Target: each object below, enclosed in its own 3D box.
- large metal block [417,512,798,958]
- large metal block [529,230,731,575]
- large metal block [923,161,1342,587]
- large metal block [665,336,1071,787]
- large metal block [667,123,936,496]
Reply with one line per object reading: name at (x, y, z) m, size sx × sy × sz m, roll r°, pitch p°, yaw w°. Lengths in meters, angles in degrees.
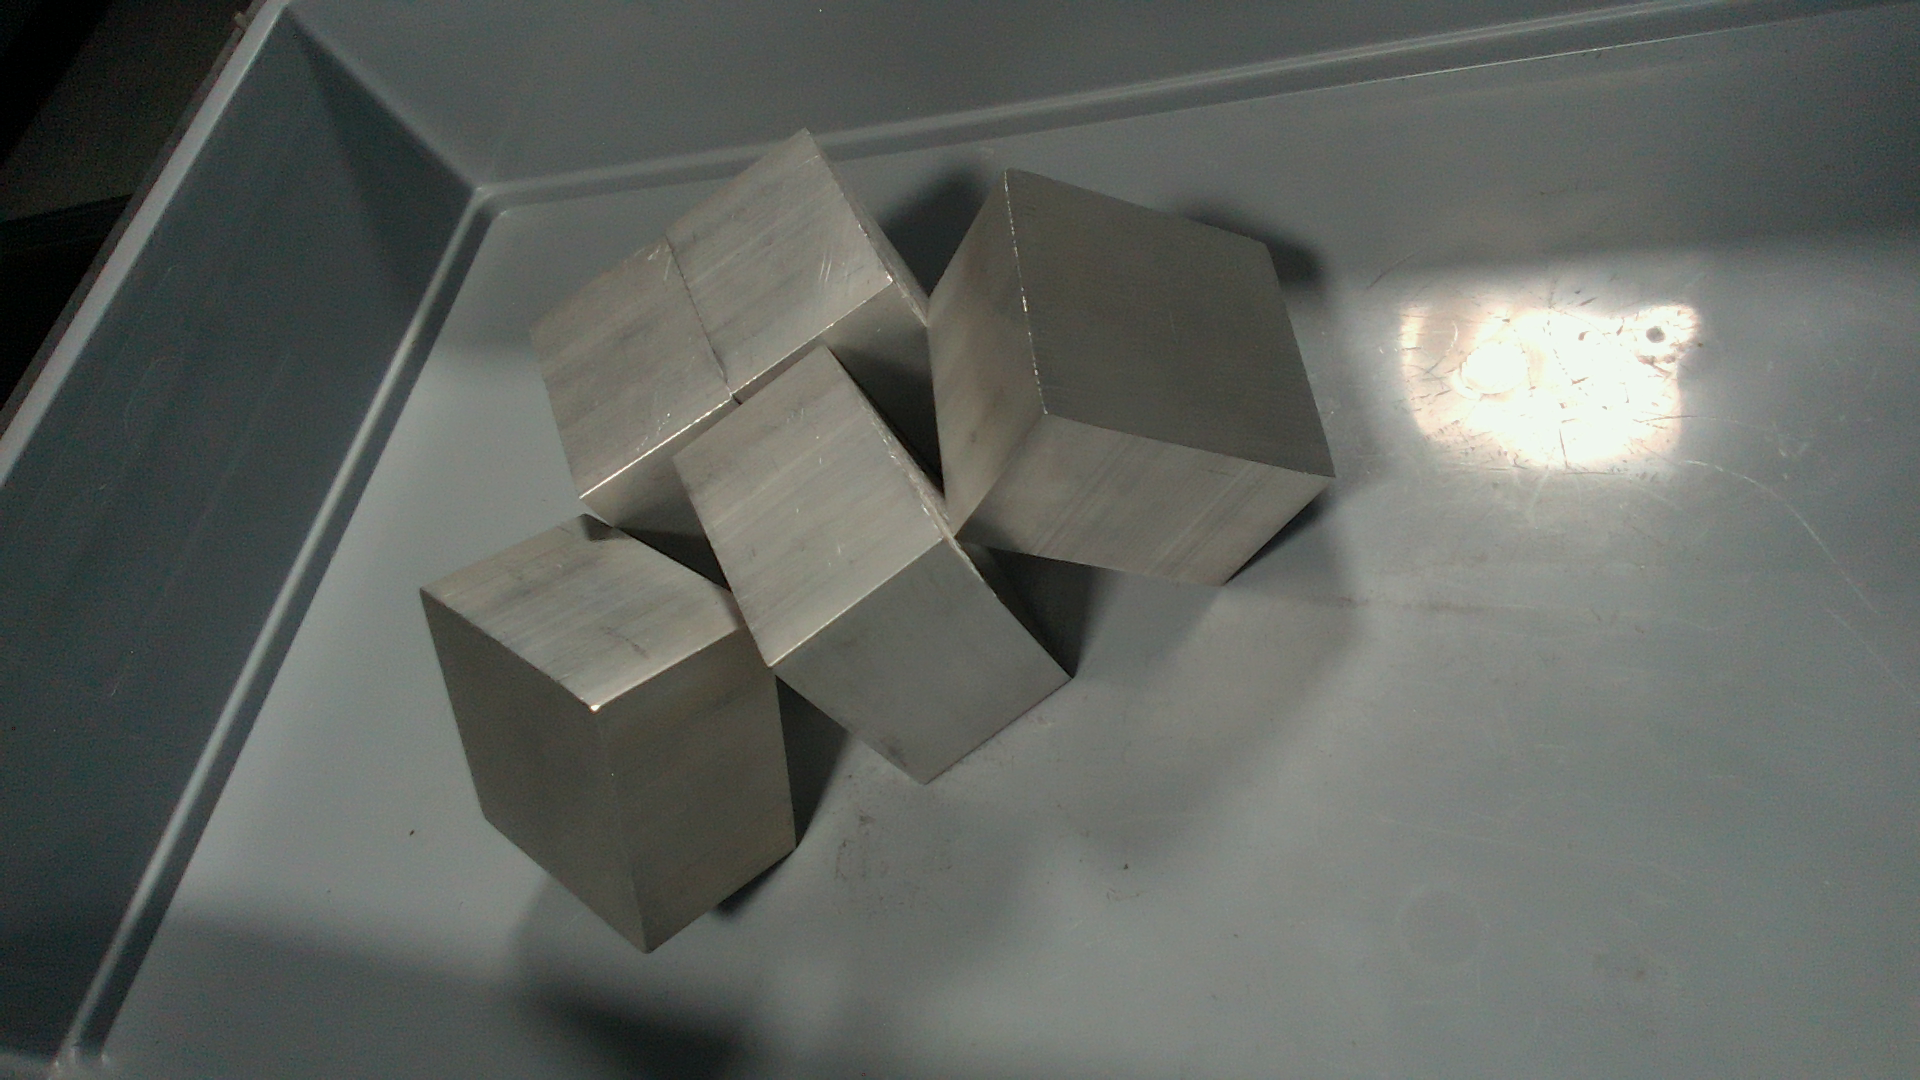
large metal block at (-0.093, 0.049, 0.368) m, size 0.080 × 0.080 × 0.050 m, roll 24°, pitch 40°, yaw 37°
large metal block at (-0.079, -0.032, 0.420) m, size 0.050 × 0.080 × 0.080 m, roll -33°, pitch 51°, yaw 7°
large metal block at (0.040, -0.041, 0.352) m, size 0.050 × 0.080 × 0.080 m, roll 128°, pitch 145°, yaw -46°
large metal block at (-0.024, 0.007, 0.365) m, size 0.050 × 0.080 × 0.080 m, roll -36°, pitch 51°, yaw 5°
large metal block at (-0.035, -0.063, 0.414) m, size 0.050 × 0.080 × 0.080 m, roll -34°, pitch 51°, yaw 7°
